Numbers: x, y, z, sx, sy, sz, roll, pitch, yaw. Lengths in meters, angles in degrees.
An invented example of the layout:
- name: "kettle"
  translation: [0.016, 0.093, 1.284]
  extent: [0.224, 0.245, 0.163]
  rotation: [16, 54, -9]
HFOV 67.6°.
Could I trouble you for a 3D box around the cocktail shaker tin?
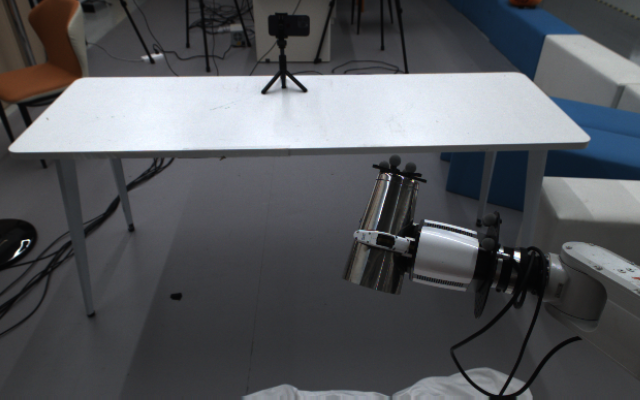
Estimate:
- name: "cocktail shaker tin"
  translation: [0.099, 0.048, 0.741]
  extent: [0.093, 0.170, 0.093]
  rotation: [15, -4, 1]
